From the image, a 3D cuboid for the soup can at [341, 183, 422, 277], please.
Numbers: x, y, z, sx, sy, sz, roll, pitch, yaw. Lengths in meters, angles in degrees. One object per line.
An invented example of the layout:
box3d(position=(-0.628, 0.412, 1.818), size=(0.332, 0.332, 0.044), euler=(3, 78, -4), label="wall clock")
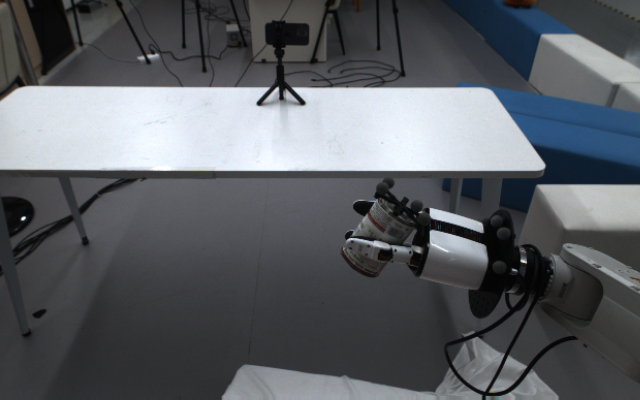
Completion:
box3d(position=(0.086, 0.052, 0.694), size=(0.067, 0.101, 0.067), euler=(28, 22, -12), label="soup can")
